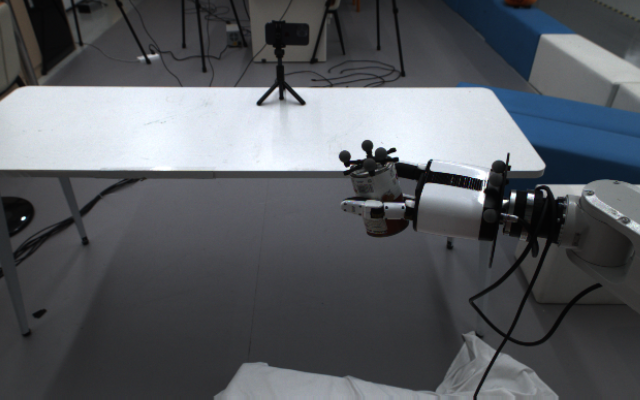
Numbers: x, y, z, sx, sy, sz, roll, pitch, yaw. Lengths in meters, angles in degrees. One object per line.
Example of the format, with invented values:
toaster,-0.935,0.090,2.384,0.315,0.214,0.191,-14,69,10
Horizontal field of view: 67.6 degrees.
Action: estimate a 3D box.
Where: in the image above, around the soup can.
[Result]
soup can,0.087,-0.007,0.707,0.067,0.101,0.067,-16,23,7
